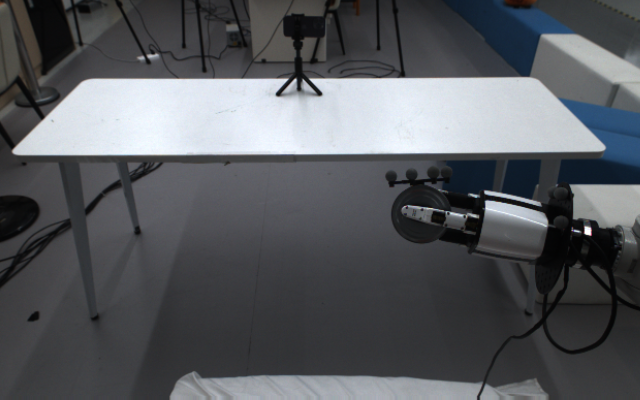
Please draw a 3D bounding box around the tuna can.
[{"bbox_3d":[0.150,0.019,0.712,0.085,0.085,0.034,11,2,12],"label":"tuna can"}]
